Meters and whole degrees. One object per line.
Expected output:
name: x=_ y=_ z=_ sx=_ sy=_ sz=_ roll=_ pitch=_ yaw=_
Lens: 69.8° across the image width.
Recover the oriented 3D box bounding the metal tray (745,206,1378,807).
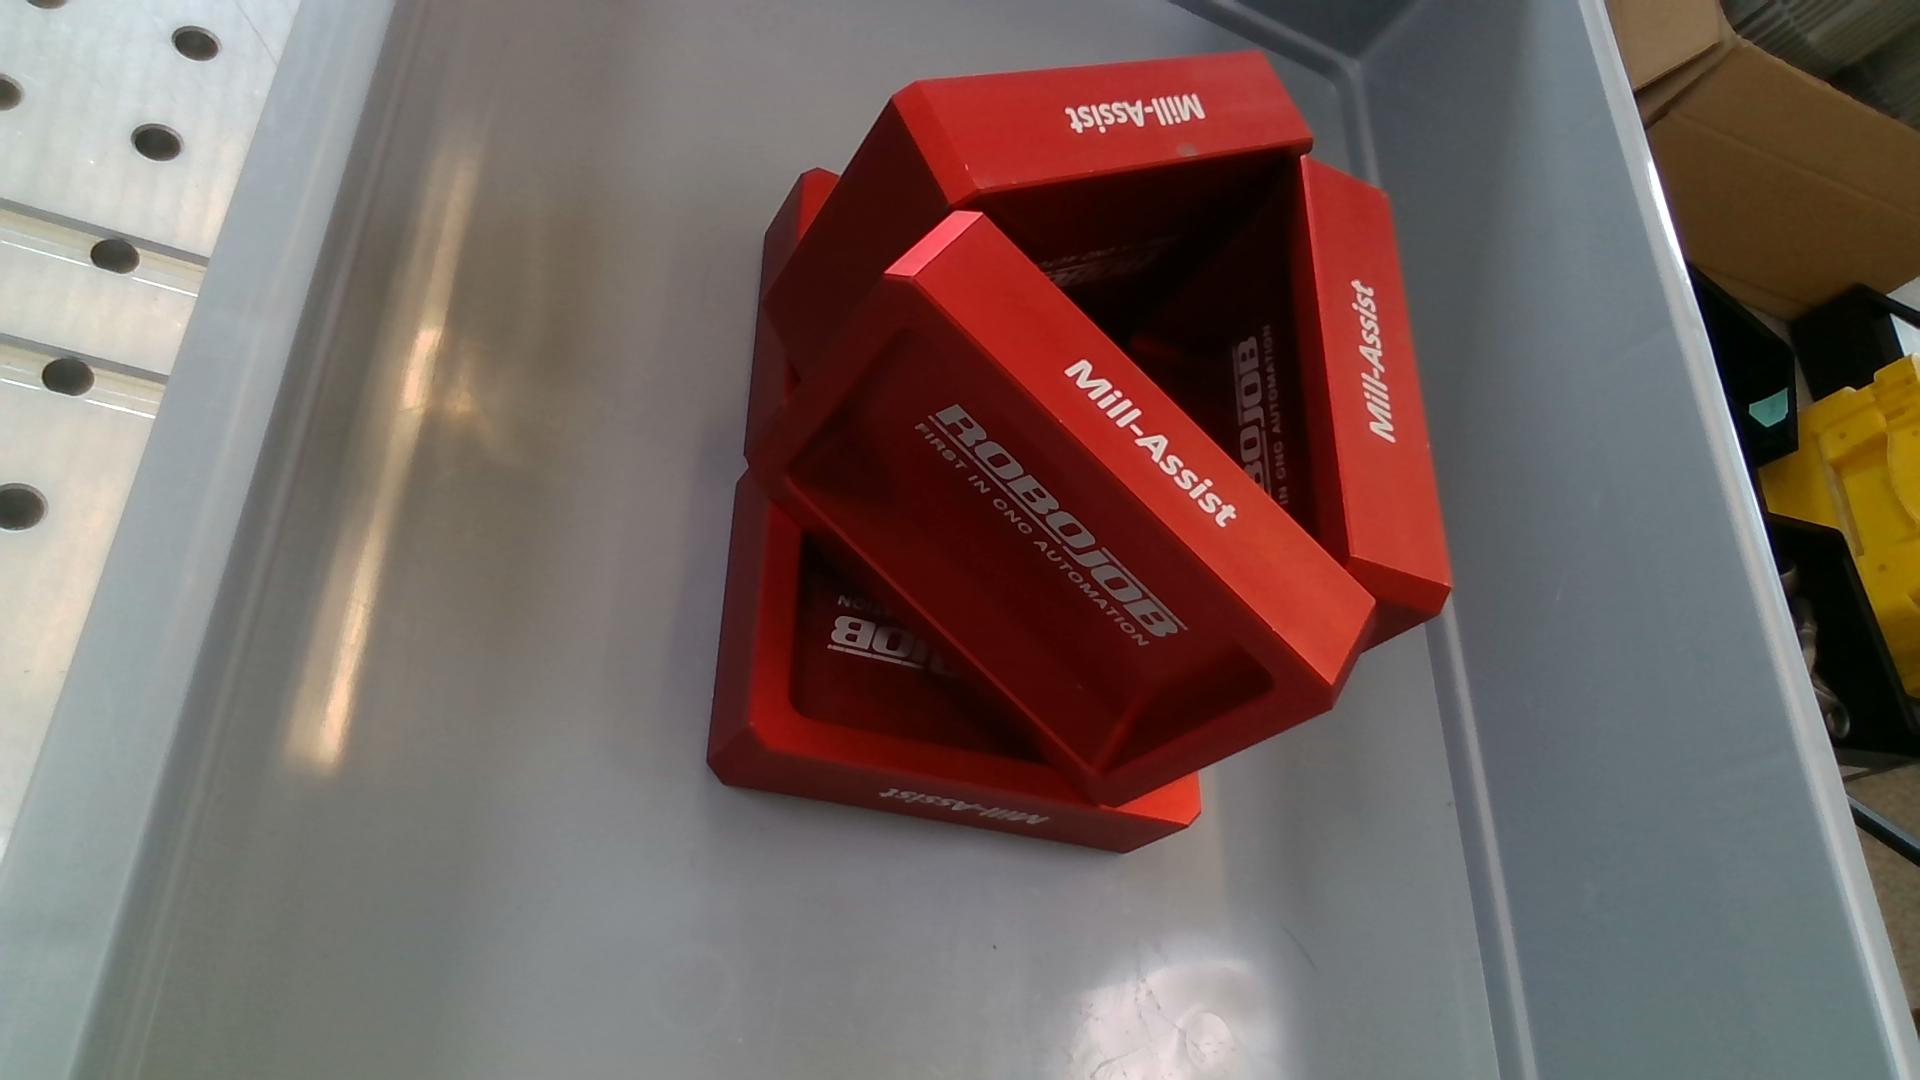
metal tray: x=0.020 y=-0.002 z=0.323 sx=0.130 sy=0.090 sz=0.030 roll=43 pitch=51 yaw=-4

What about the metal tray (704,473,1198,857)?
metal tray: x=0.001 y=0.029 z=0.374 sx=0.130 sy=0.030 sz=0.090 roll=16 pitch=58 yaw=-25

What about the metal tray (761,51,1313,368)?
metal tray: x=0.022 y=-0.086 z=0.369 sx=0.130 sy=0.090 sz=0.030 roll=-19 pitch=76 yaw=-37

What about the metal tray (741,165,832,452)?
metal tray: x=0.003 y=-0.050 z=0.419 sx=0.130 sy=0.030 sz=0.090 roll=15 pitch=58 yaw=-25

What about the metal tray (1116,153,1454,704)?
metal tray: x=0.081 y=-0.027 z=0.374 sx=0.030 sy=0.090 sz=0.130 roll=16 pitch=58 yaw=-24
